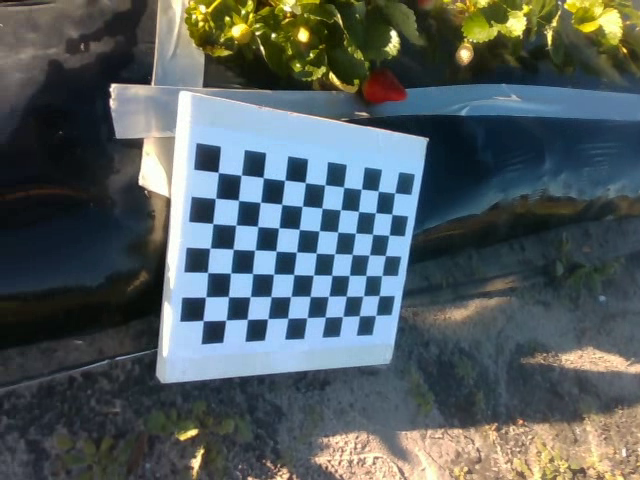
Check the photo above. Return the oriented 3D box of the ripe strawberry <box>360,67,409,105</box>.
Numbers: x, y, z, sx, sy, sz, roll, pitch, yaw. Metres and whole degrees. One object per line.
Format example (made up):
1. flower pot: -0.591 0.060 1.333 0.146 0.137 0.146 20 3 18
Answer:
1. ripe strawberry: 0.073 -0.173 0.723 0.063 0.045 0.048 27 -5 27
